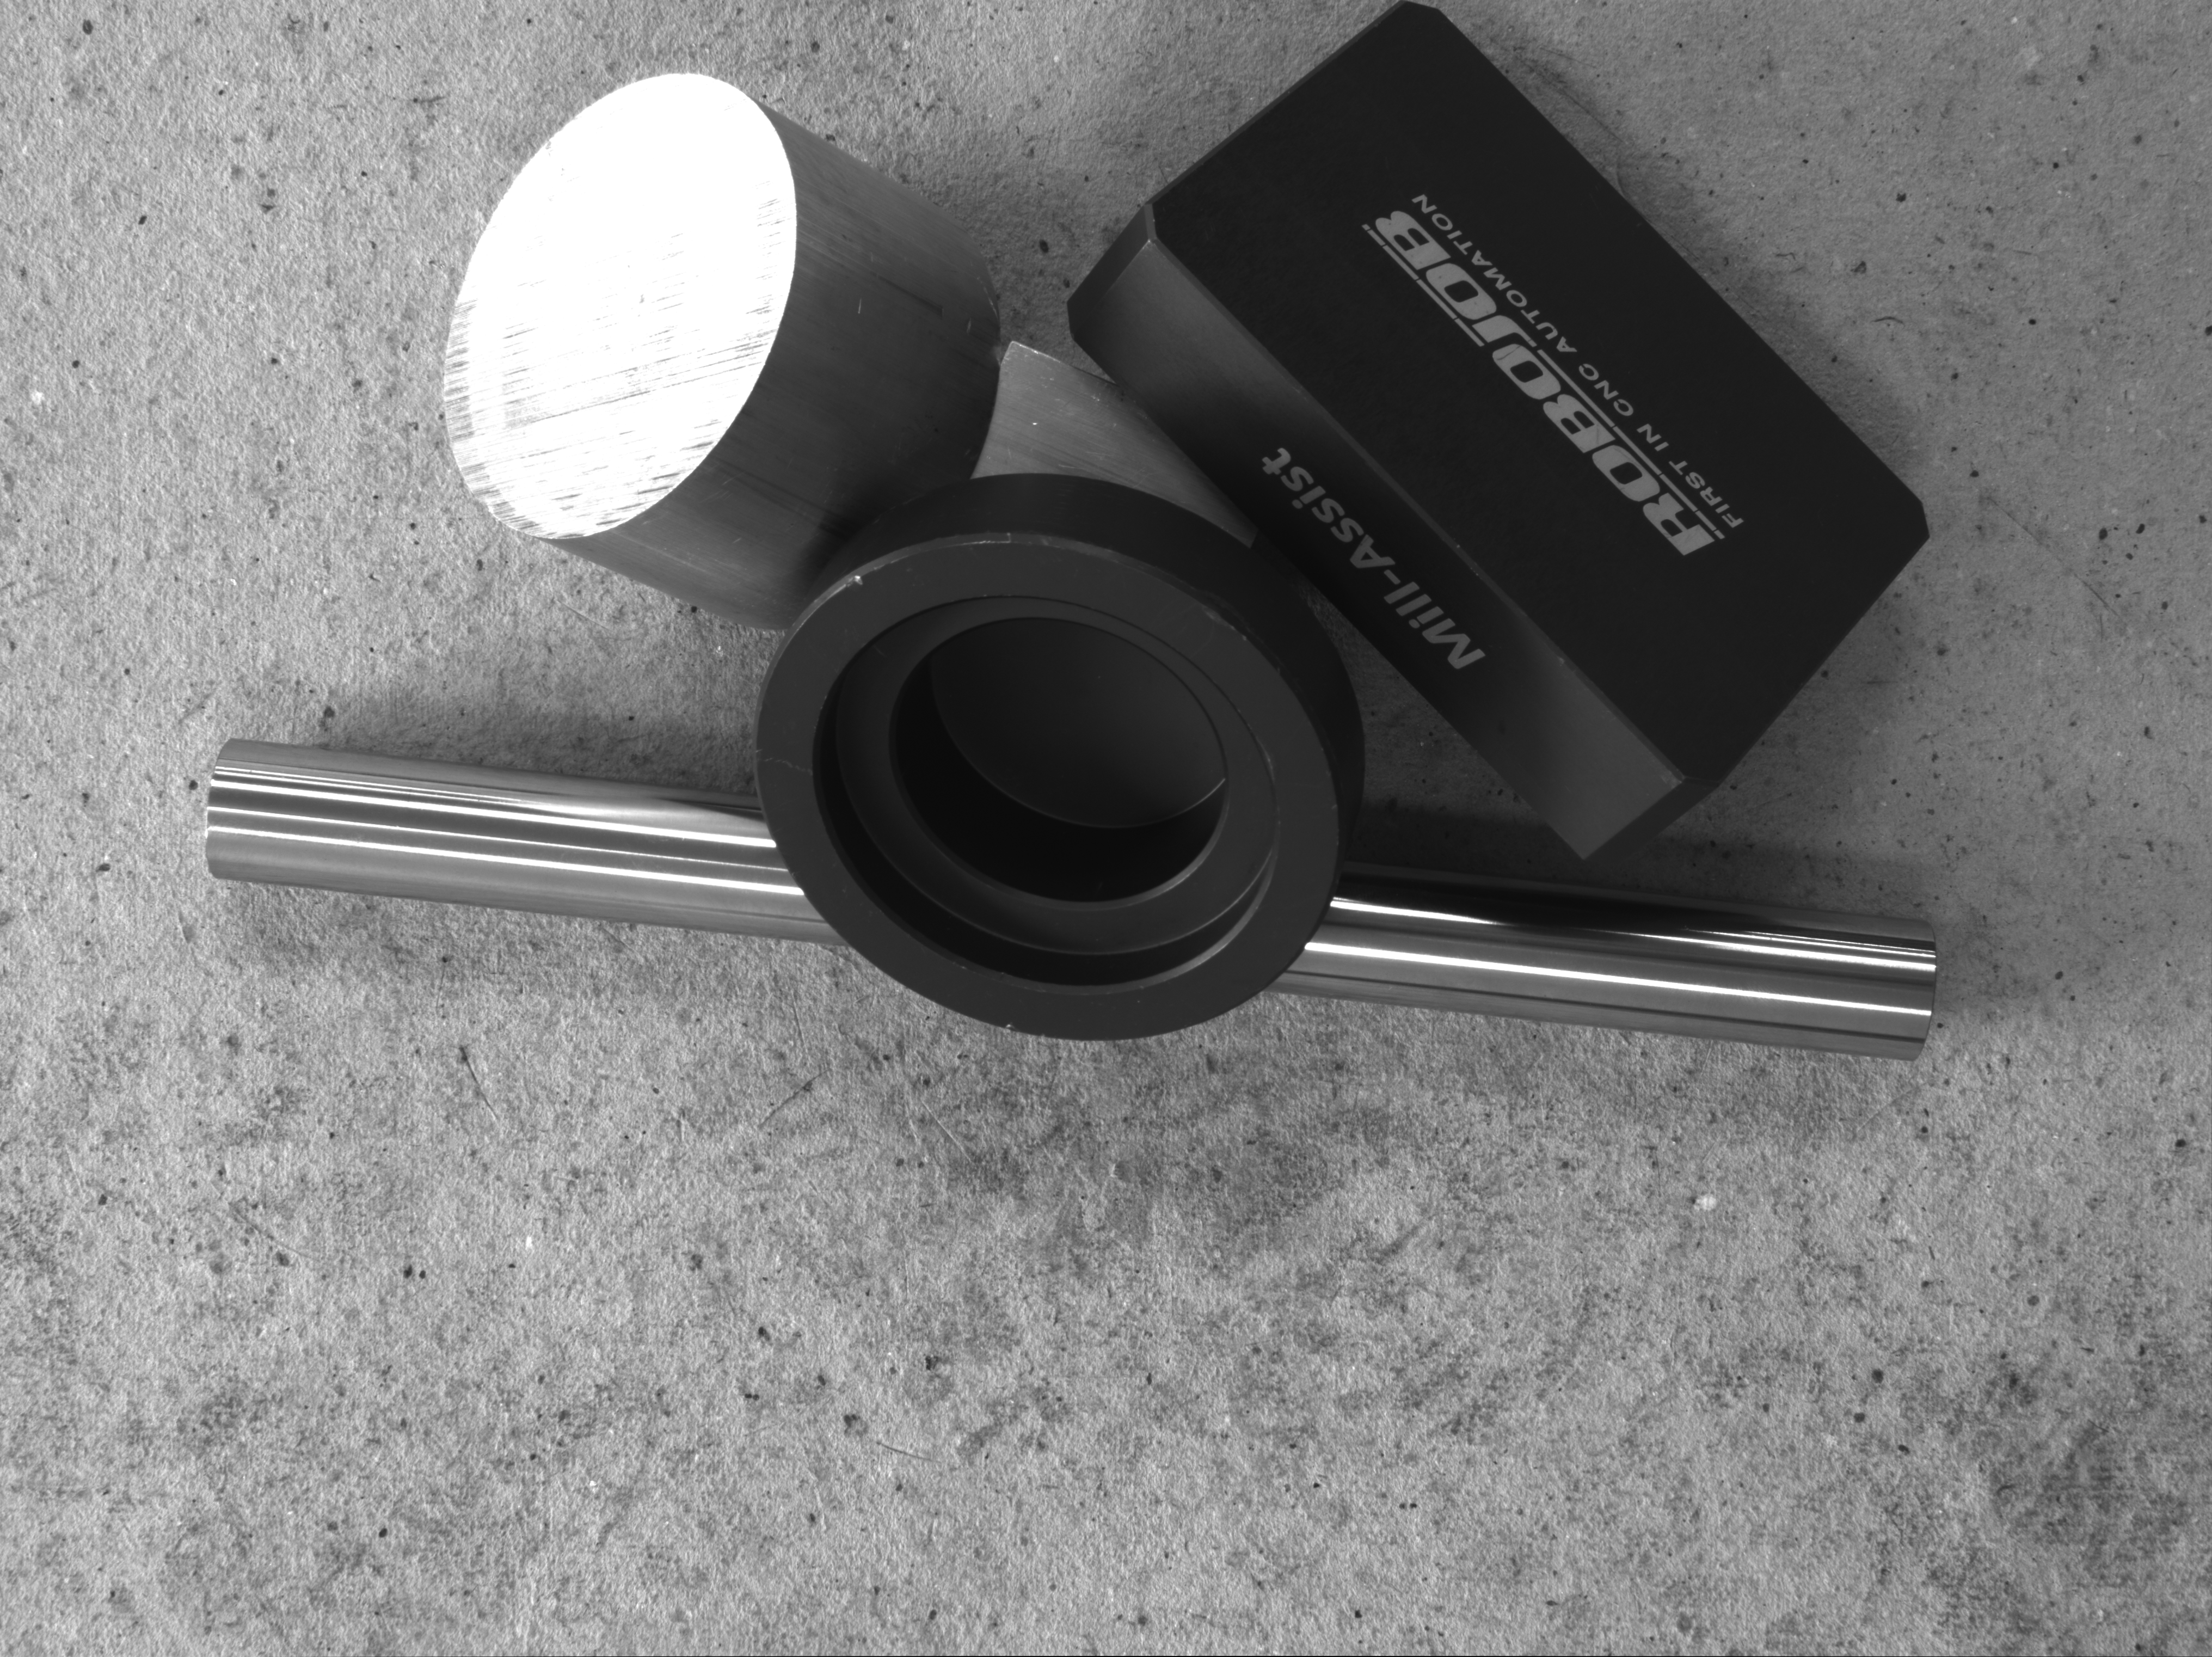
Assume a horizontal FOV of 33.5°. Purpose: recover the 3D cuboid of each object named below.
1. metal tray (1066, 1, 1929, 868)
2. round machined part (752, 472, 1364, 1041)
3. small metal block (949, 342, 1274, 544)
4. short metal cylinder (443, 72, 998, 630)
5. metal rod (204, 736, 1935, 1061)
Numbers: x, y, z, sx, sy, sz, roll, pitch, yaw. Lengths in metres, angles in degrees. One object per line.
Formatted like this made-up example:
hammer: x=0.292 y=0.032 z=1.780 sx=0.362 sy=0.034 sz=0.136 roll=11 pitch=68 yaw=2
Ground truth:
metal tray: x=0.068 y=-0.068 z=0.618 sx=0.130 sy=0.030 sz=0.090 roll=46 pitch=51 yaw=0
round machined part: x=-0.006 y=-0.016 z=0.607 sx=0.098 sy=0.042 sz=0.098 roll=7 pitch=125 yaw=10
small metal block: x=0.002 y=-0.059 z=0.632 sx=0.050 sy=0.050 sz=0.025 roll=24 pitch=90 yaw=0
short metal cylinder: x=-0.065 y=-0.079 z=0.614 sx=0.080 sy=0.050 sz=0.080 roll=-14 pitch=67 yaw=36
metal rod: x=-0.006 y=0.012 z=0.646 sx=0.300 sy=0.025 sz=0.025 roll=6 pitch=90 yaw=0
